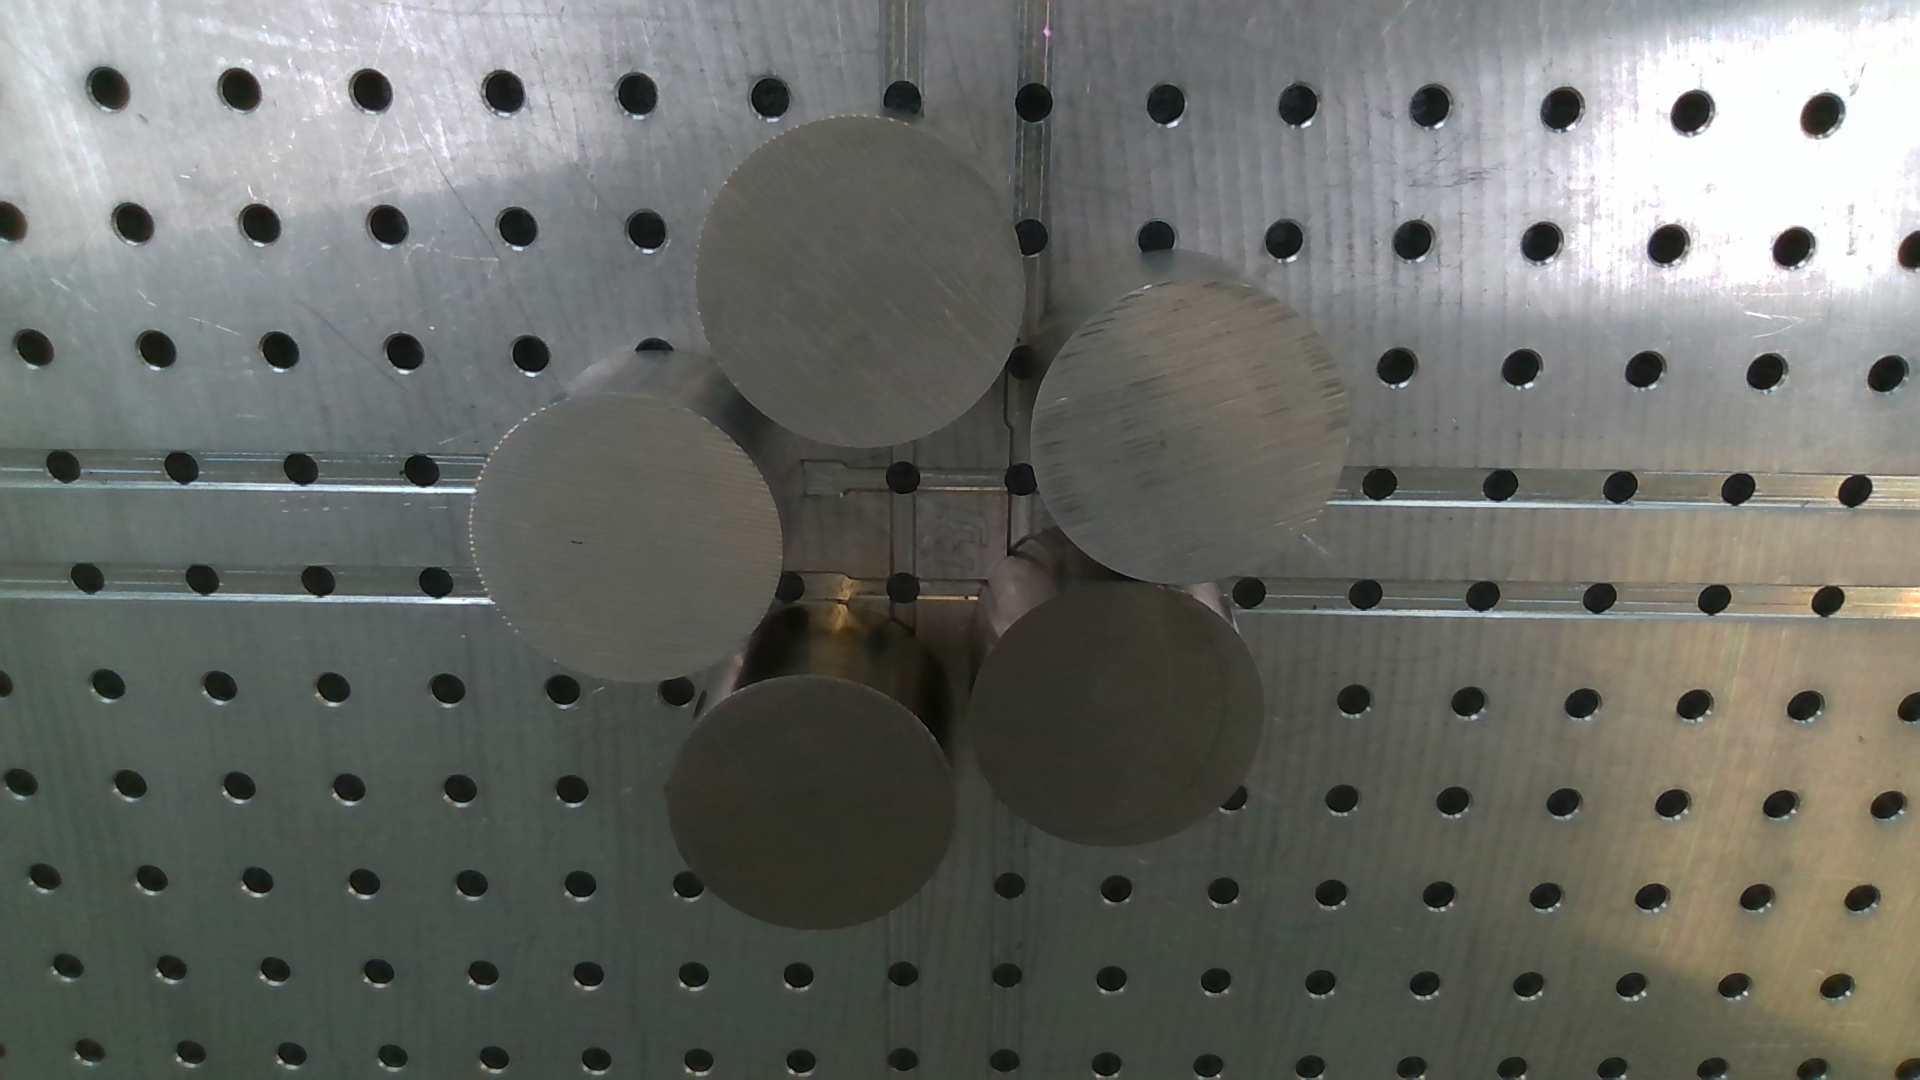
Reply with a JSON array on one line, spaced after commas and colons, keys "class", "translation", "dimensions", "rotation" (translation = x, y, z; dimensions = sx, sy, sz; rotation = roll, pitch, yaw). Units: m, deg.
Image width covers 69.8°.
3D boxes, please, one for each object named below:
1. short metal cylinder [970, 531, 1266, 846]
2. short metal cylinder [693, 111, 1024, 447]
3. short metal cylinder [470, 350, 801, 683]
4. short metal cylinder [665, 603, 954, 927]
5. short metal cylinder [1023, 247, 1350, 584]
[{"class": "short metal cylinder", "translation": [0.043, 0.040, 0.396], "dimensions": [0.080, 0.050, 0.080], "rotation": [0, 110, 0]}, {"class": "short metal cylinder", "translation": [-0.024, -0.070, 0.357], "dimensions": [0.080, 0.050, 0.080], "rotation": [0, 110, 0]}, {"class": "short metal cylinder", "translation": [-0.086, -0.008, 0.378], "dimensions": [0.080, 0.050, 0.080], "rotation": [0, 109, 0]}, {"class": "short metal cylinder", "translation": [-0.041, 0.065, 0.406], "dimensions": [0.080, 0.050, 0.080], "rotation": [0, 110, 1]}, {"class": "short metal cylinder", "translation": [0.058, -0.035, 0.369], "dimensions": [0.080, 0.050, 0.080], "rotation": [0, 110, 0]}]
